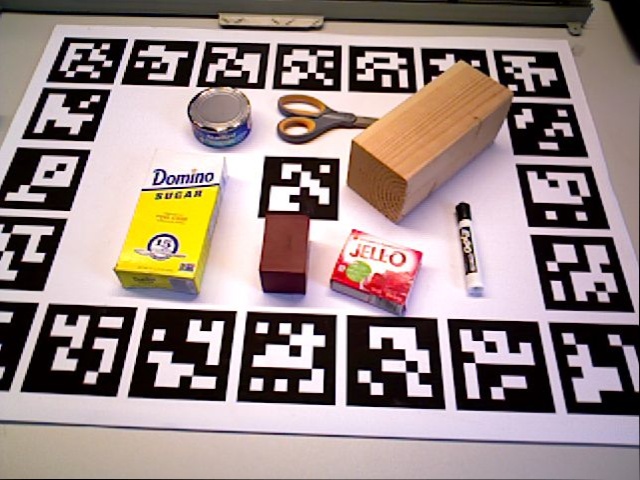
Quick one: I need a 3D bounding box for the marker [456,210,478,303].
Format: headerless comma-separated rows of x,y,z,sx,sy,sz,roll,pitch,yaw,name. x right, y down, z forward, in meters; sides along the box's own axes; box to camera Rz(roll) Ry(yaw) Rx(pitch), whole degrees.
0.176,0.017,0.651,0.019,0.020,0.119,3,62,1,marker

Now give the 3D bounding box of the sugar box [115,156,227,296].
-0.176,-0.020,0.662,0.092,0.046,0.174,6,60,3,sugar box

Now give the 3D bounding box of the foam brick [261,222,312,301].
-0.037,0.025,0.625,0.052,0.052,0.077,4,60,2,foam brick

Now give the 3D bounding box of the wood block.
0.144,-0.116,0.692,0.203,0.093,0.090,-39,66,-21,wood block

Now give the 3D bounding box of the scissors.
0.029,-0.156,0.756,0.202,0.016,0.086,8,60,7,scissors

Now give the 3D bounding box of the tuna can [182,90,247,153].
-0.143,-0.162,0.746,0.085,0.034,0.084,0,60,0,tuna can

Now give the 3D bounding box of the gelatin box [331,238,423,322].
0.066,0.045,0.631,0.089,0.031,0.072,19,62,11,gelatin box
